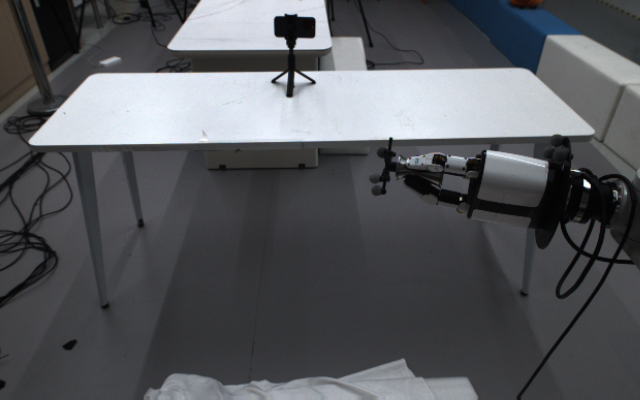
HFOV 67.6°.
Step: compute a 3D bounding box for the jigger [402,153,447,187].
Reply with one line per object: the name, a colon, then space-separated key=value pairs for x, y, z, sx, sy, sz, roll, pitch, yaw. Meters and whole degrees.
jigger: x=0.157 y=-0.049 z=0.729 sx=0.071 sy=0.043 sz=0.043 roll=10 pitch=35 yaw=15
